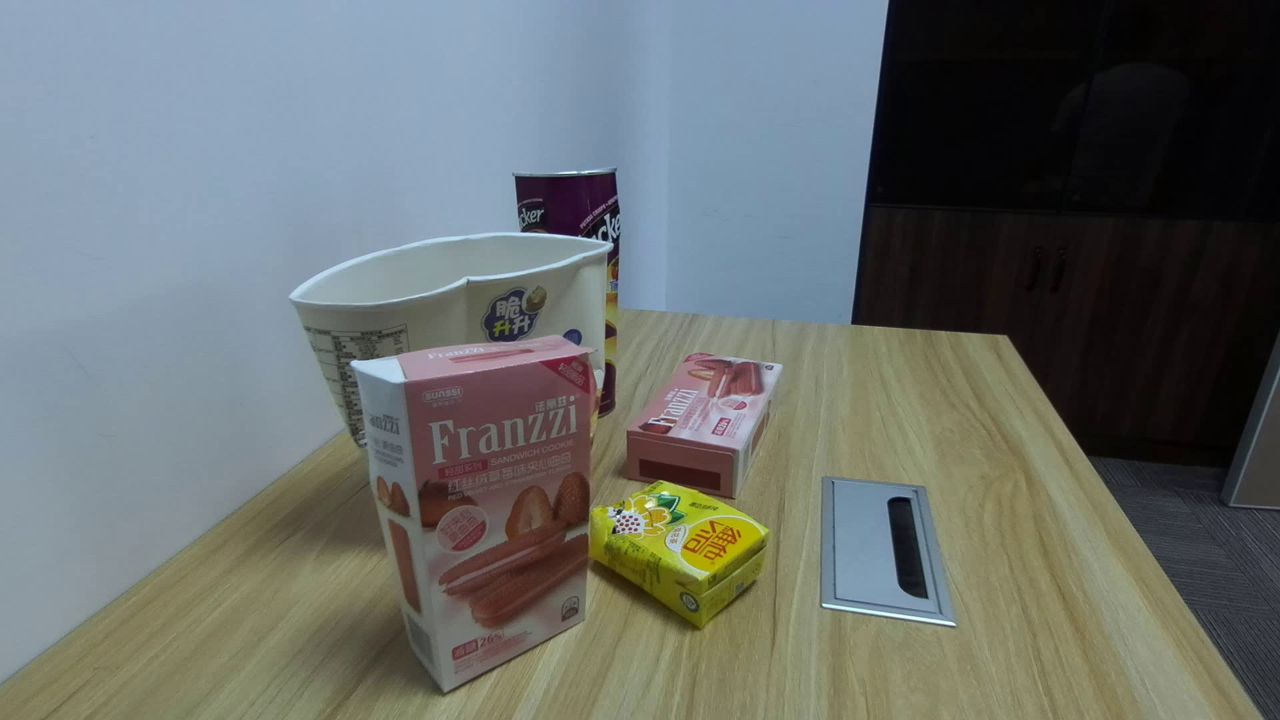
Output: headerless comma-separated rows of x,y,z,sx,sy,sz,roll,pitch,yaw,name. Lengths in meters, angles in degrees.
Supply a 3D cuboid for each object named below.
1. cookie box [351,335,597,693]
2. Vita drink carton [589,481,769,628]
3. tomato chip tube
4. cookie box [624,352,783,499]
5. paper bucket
-0.082,0.082,0.397,0.119,0.184,0.055,-13,26,-29,cookie box
0.024,0.124,0.475,0.087,0.042,0.107,-25,28,-34,Vita drink carton
-0.064,-0.063,0.681,0.077,0.235,0.076,8,23,25,tomato chip tube
0.065,0.051,0.642,0.096,0.048,0.185,8,23,19,cookie box
-0.117,0.015,0.535,0.147,0.199,0.218,8,25,18,paper bucket
